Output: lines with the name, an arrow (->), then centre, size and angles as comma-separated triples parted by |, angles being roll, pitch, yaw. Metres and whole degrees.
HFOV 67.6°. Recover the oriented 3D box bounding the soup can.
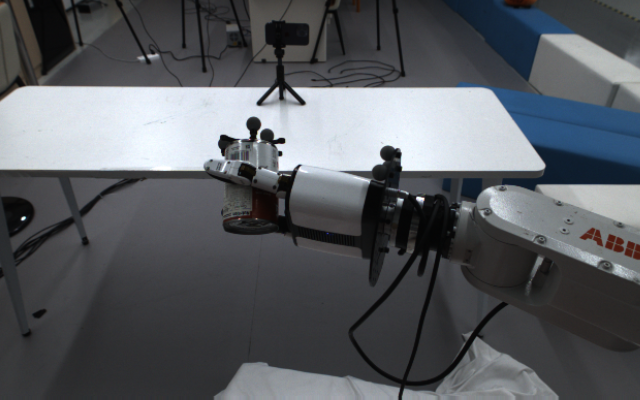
soup can -> -0.081, -0.015, 0.586 | 0.067, 0.067, 0.101 | -1, 71, -5
